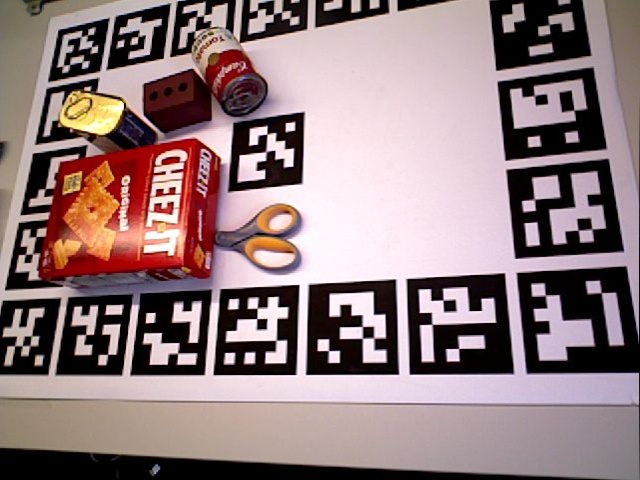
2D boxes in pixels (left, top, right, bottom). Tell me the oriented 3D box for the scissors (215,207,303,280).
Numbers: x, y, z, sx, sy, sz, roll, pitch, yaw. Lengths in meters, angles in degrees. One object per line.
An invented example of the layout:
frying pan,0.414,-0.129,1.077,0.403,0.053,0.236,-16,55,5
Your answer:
scissors,-0.119,0.014,0.655,0.204,0.016,0.087,-9,73,16

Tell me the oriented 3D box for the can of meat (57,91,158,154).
can of meat,-0.282,-0.150,0.731,0.102,0.084,0.057,10,77,20

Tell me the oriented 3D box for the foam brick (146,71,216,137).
foam brick,-0.185,-0.182,0.728,0.078,0.051,0.052,-14,70,14

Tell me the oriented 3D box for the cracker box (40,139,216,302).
cracker box,-0.237,-0.022,0.671,0.215,0.072,0.163,-10,70,19

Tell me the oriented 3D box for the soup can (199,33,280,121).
soup can,-0.106,-0.214,0.710,0.068,0.068,0.101,-39,61,3
